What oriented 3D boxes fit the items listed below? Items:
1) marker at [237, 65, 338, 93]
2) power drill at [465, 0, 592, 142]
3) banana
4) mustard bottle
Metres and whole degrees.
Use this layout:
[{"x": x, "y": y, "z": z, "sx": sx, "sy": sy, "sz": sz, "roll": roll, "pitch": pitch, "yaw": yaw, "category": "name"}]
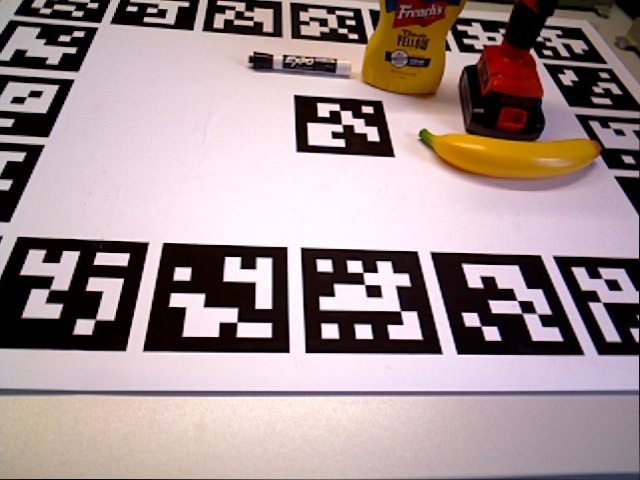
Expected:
[{"x": -0.039, "y": -0.193, "z": 0.651, "sx": 0.120, "sy": 0.020, "sz": 0.019, "roll": 6, "pitch": 50, "yaw": -4, "category": "marker"}, {"x": 0.204, "y": -0.188, "z": 0.544, "sx": 0.057, "sy": 0.192, "sz": 0.180, "roll": 15, "pitch": 47, "yaw": 2, "category": "power drill"}, {"x": 0.183, "y": -0.060, "z": 0.561, "sx": 0.197, "sy": 0.040, "sz": 0.073, "roll": 9, "pitch": 51, "yaw": 2, "category": "banana"}, {"x": 0.097, "y": -0.234, "z": 0.589, "sx": 0.096, "sy": 0.196, "sz": 0.057, "roll": 13, "pitch": 49, "yaw": 1, "category": "mustard bottle"}]
